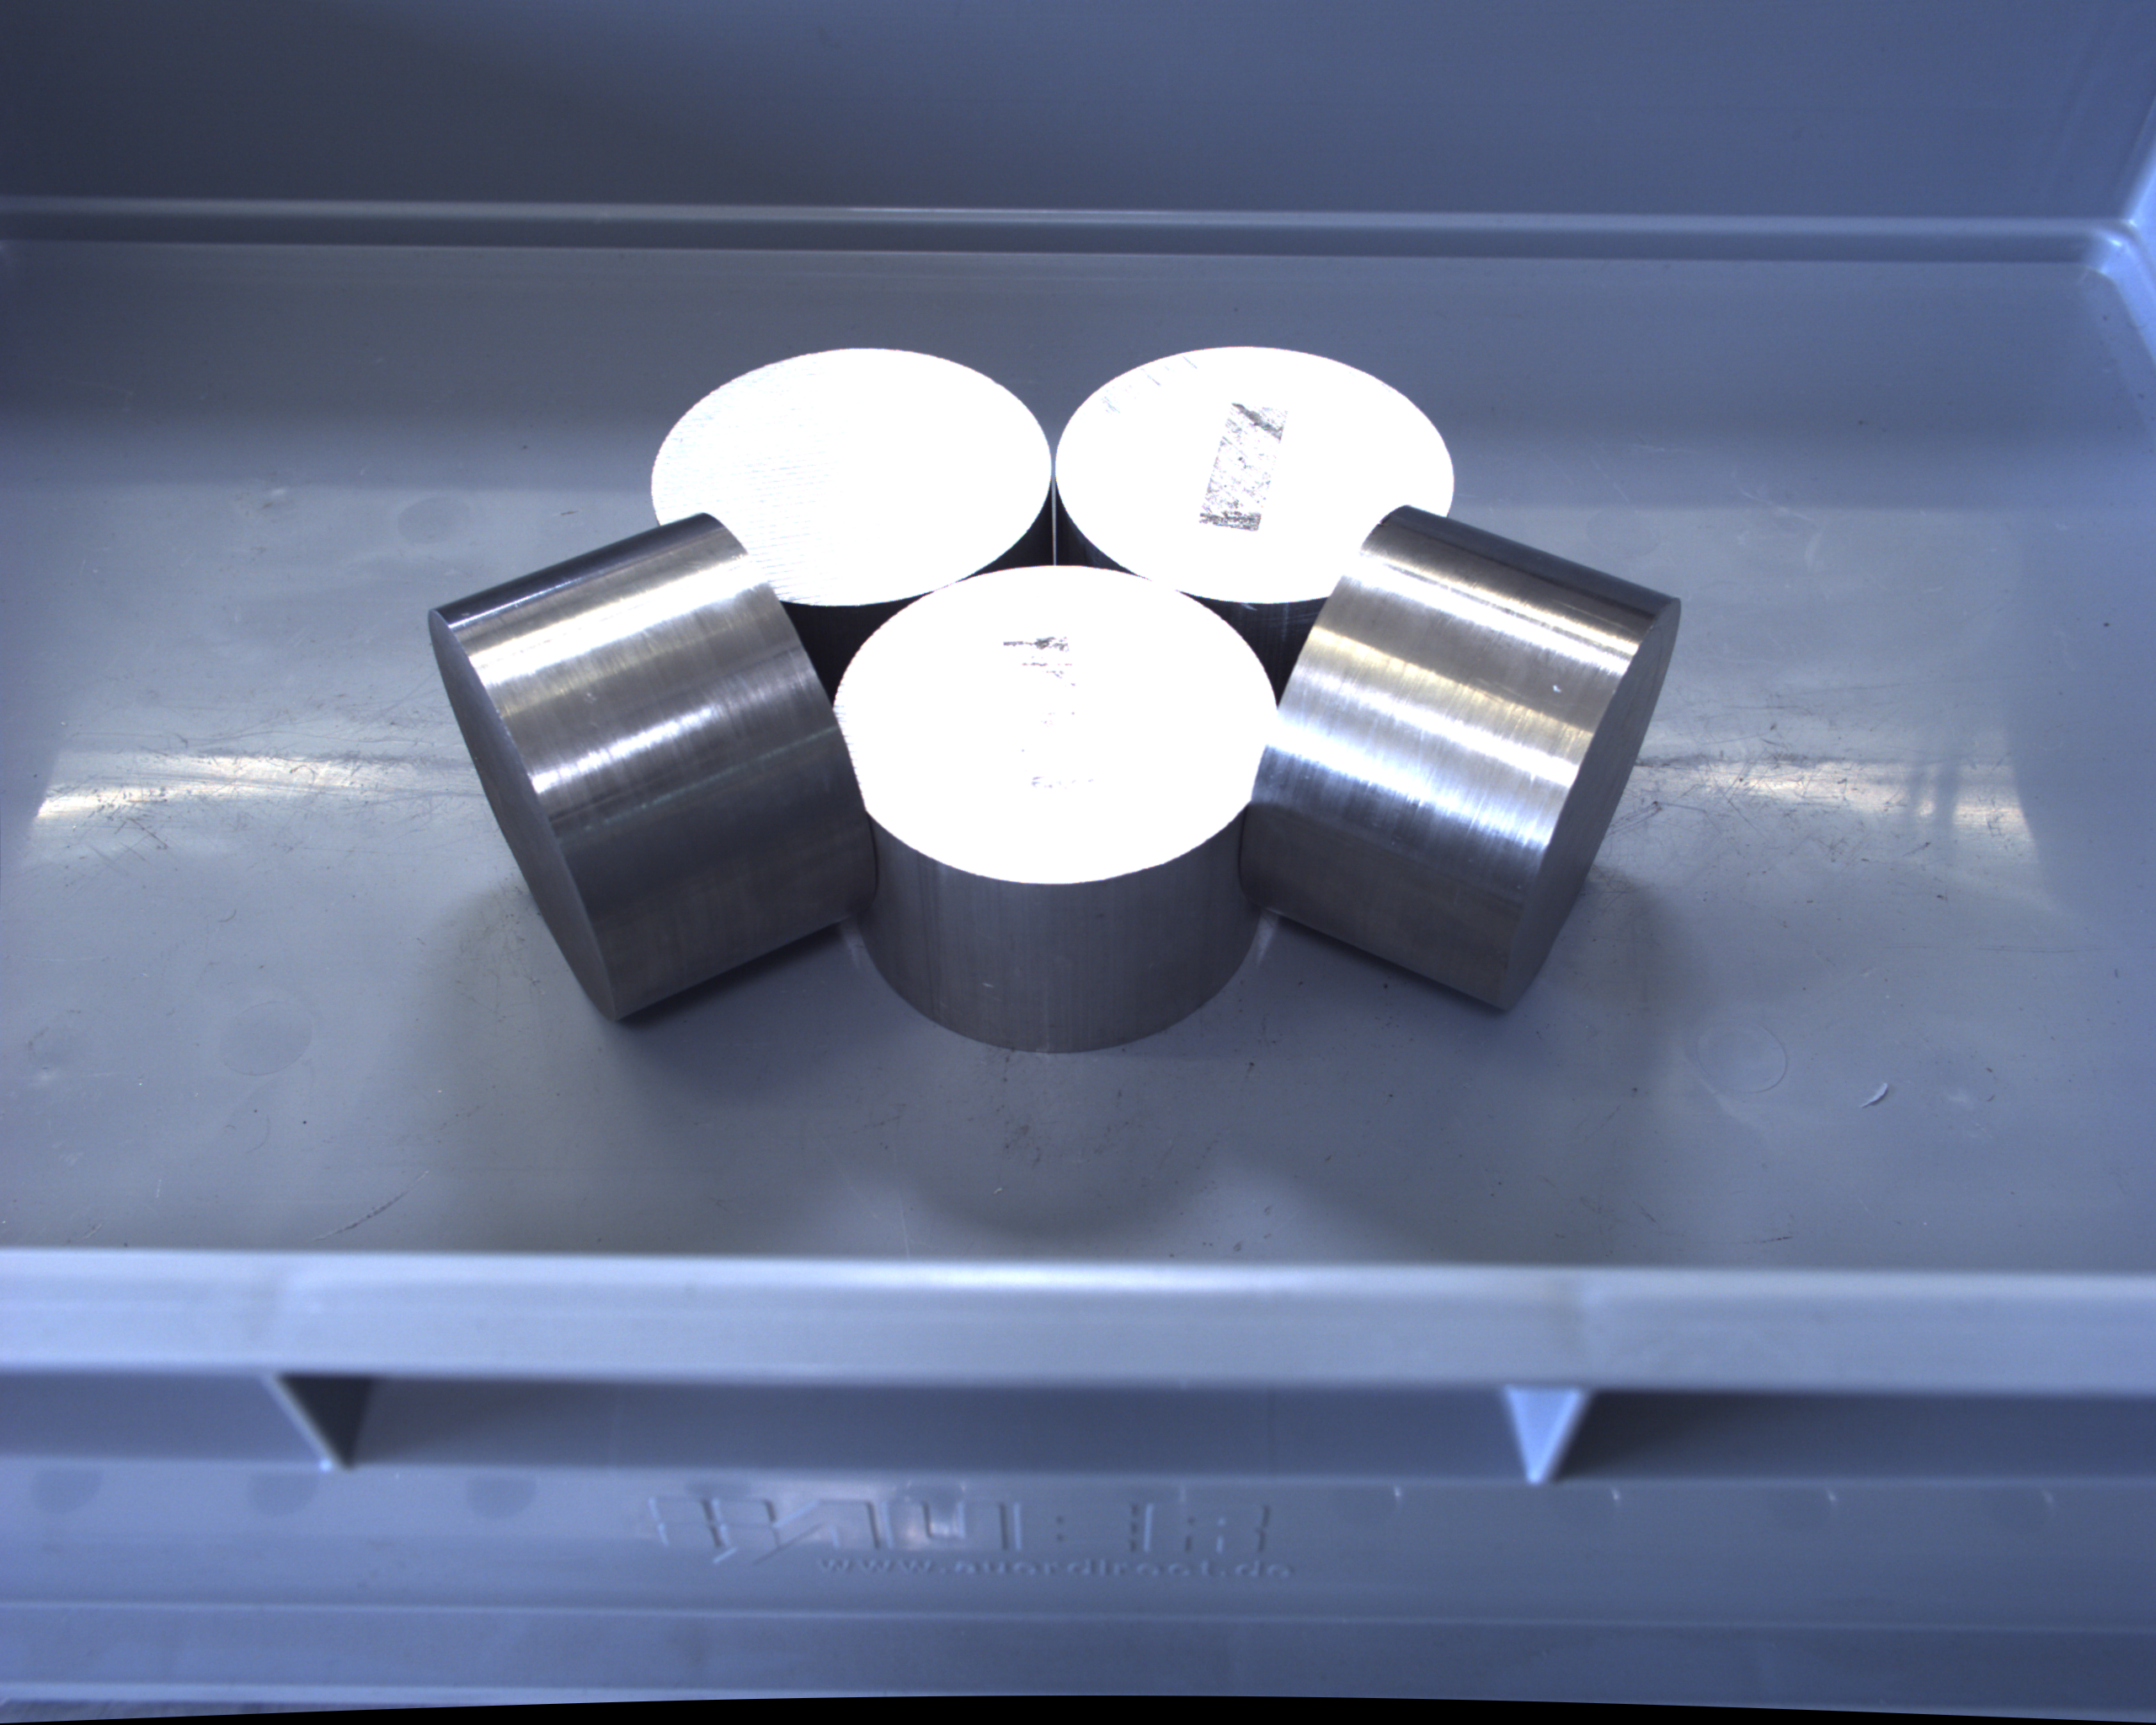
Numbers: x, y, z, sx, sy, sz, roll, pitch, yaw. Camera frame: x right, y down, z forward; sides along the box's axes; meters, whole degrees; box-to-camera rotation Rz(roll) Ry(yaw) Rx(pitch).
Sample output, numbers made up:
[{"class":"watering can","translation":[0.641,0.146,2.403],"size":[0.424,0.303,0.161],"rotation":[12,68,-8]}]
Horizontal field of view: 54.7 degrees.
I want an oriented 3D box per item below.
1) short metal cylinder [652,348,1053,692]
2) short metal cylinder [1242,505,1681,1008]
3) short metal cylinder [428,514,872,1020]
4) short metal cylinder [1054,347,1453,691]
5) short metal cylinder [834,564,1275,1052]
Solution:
[{"class":"short metal cylinder","translation":[-0.045,-0.064,0.440],"size":[0.080,0.050,0.080],"rotation":[0,50,0]},{"class":"short metal cylinder","translation":[0.071,-0.020,0.384],"size":[0.050,0.080,0.080],"rotation":[23,54,18]},{"class":"short metal cylinder","translation":[-0.079,-0.018,0.382],"size":[0.050,0.080,0.080],"rotation":[-24,54,-19]},{"class":"short metal cylinder","translation":[0.035,-0.064,0.441],"size":[0.080,0.050,0.080],"rotation":[0,50,0]},{"class":"short metal cylinder","translation":[-0.004,-0.011,0.396],"size":[0.080,0.050,0.080],"rotation":[0,50,0]}]
